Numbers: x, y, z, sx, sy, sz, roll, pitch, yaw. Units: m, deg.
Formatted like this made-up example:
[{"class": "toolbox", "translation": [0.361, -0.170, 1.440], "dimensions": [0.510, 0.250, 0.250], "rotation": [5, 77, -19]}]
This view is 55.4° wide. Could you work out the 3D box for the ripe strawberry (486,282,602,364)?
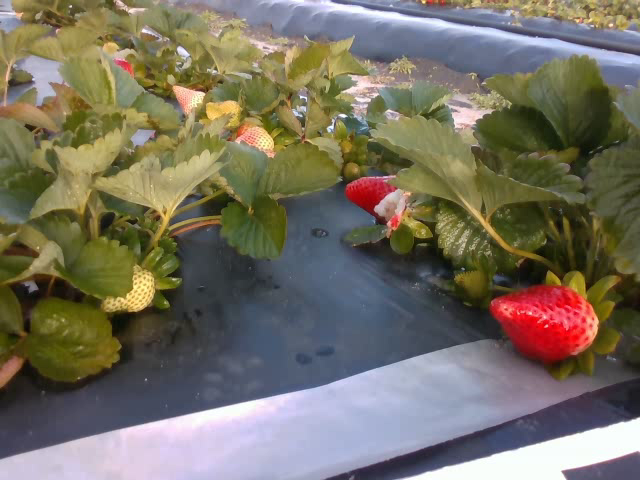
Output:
[{"class": "ripe strawberry", "translation": [0.086, 0.029, 0.238], "dimensions": [0.055, 0.036, 0.050], "rotation": [-1, 31, -16]}]
